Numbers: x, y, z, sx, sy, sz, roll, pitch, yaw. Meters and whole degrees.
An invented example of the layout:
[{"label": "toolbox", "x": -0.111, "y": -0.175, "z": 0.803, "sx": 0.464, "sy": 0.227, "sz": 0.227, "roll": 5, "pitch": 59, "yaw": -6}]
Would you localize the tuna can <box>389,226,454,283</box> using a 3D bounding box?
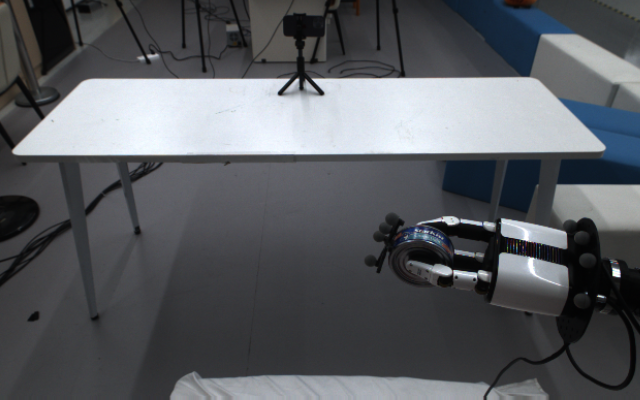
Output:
[{"label": "tuna can", "x": 0.139, "y": 0.074, "z": 0.653, "sx": 0.085, "sy": 0.085, "sz": 0.034, "roll": 9, "pitch": 35, "yaw": 9}]
